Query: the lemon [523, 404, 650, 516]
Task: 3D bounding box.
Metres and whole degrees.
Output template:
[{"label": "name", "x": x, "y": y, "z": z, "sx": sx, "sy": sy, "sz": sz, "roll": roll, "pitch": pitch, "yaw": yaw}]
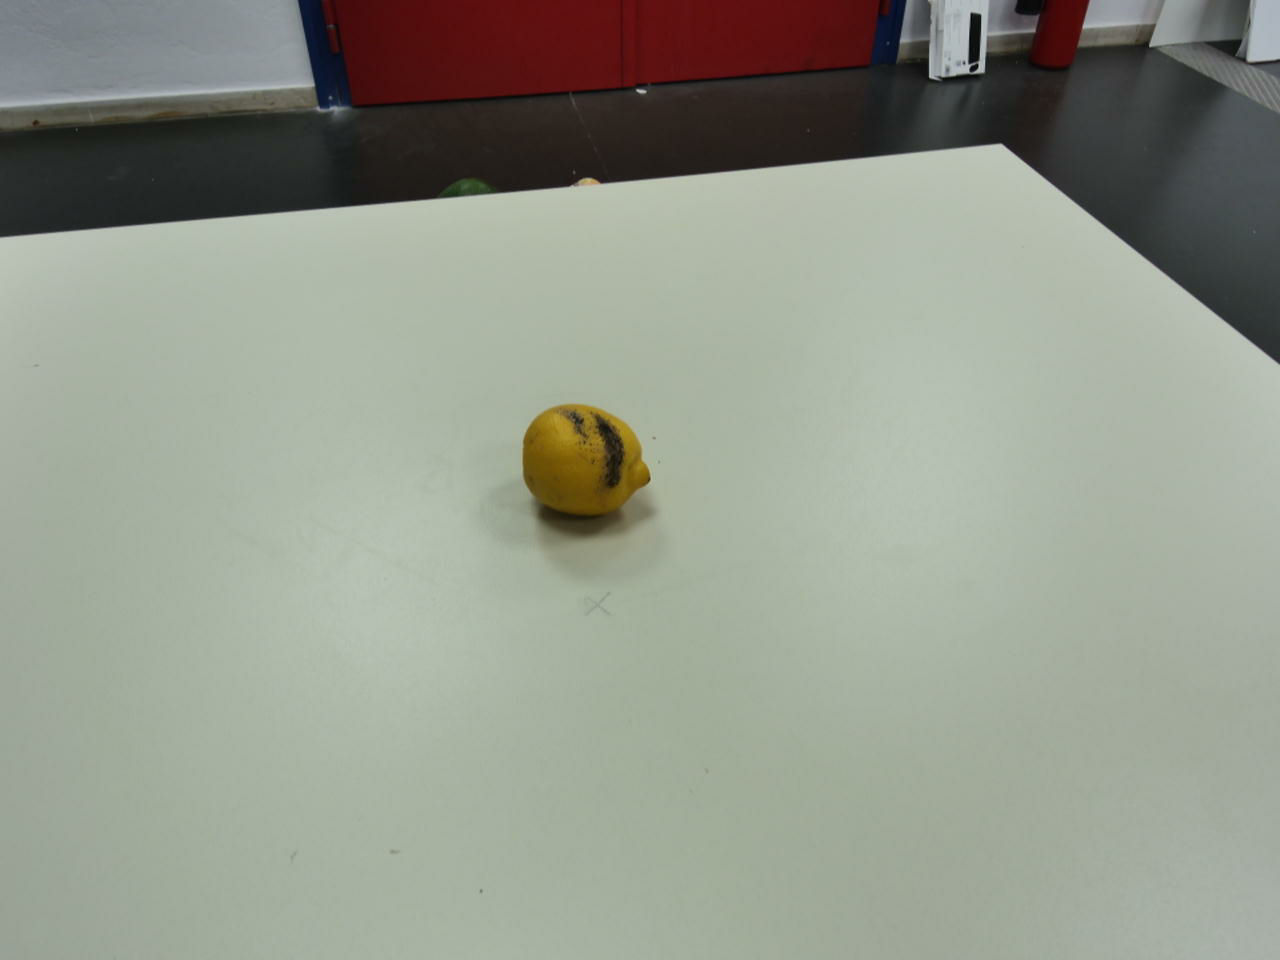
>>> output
[{"label": "lemon", "x": -0.030, "y": -0.010, "z": 0.510, "sx": 0.061, "sy": 0.056, "sz": 0.058, "roll": -14, "pitch": 41, "yaw": -16}]
